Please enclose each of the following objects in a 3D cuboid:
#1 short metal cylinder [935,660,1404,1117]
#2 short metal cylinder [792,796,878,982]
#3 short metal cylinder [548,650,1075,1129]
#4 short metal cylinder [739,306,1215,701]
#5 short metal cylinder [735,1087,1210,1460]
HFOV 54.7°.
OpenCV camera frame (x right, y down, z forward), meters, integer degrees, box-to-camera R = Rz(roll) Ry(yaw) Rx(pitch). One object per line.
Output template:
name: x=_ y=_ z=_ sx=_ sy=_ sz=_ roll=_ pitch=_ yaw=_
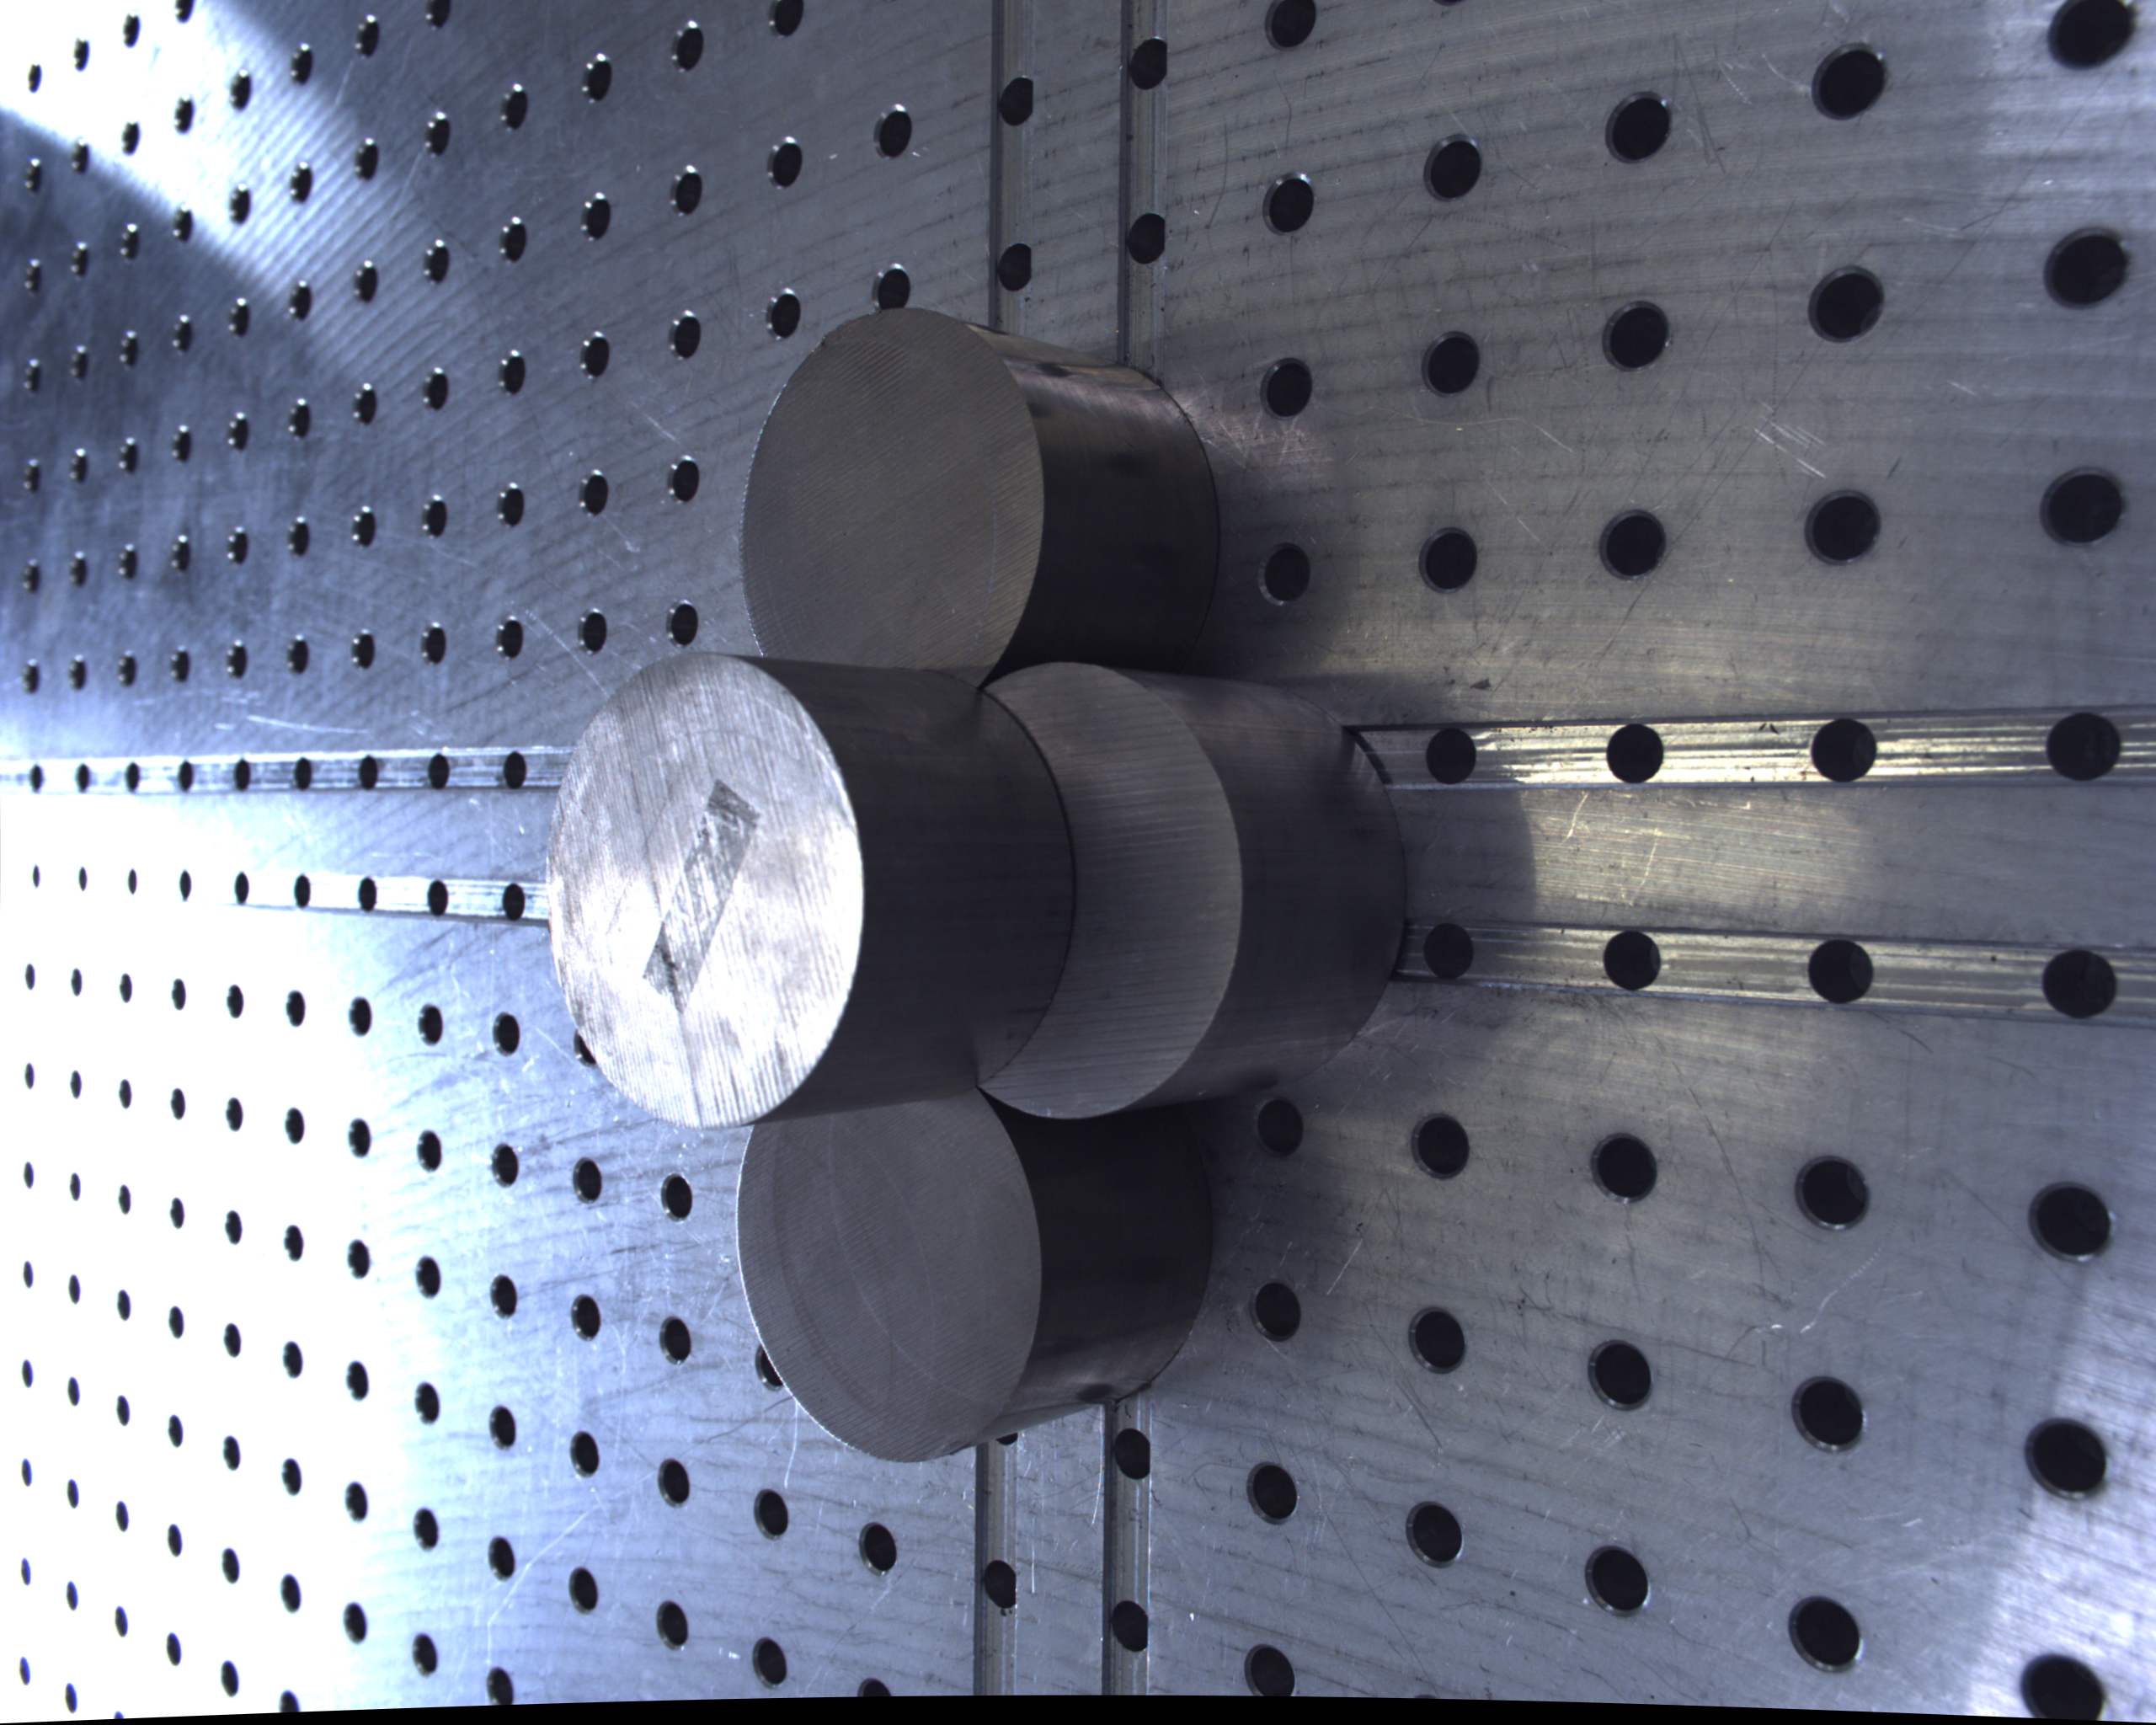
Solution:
short metal cylinder: x=0.012 y=0.004 z=0.383 sx=0.080 sy=0.050 sz=0.080 roll=0 pitch=90 yaw=40
short metal cylinder: x=-0.053 y=0.004 z=0.437 sx=0.080 sy=0.050 sz=0.079 roll=0 pitch=90 yaw=40
short metal cylinder: x=-0.048 y=0.004 z=0.366 sx=0.080 sy=0.050 sz=0.079 roll=0 pitch=90 yaw=40
short metal cylinder: x=-0.021 y=-0.064 z=0.410 sx=0.080 sy=0.050 sz=0.079 roll=0 pitch=90 yaw=39
short metal cylinder: x=-0.022 y=0.072 z=0.410 sx=0.080 sy=0.050 sz=0.080 roll=-2 pitch=87 yaw=39
